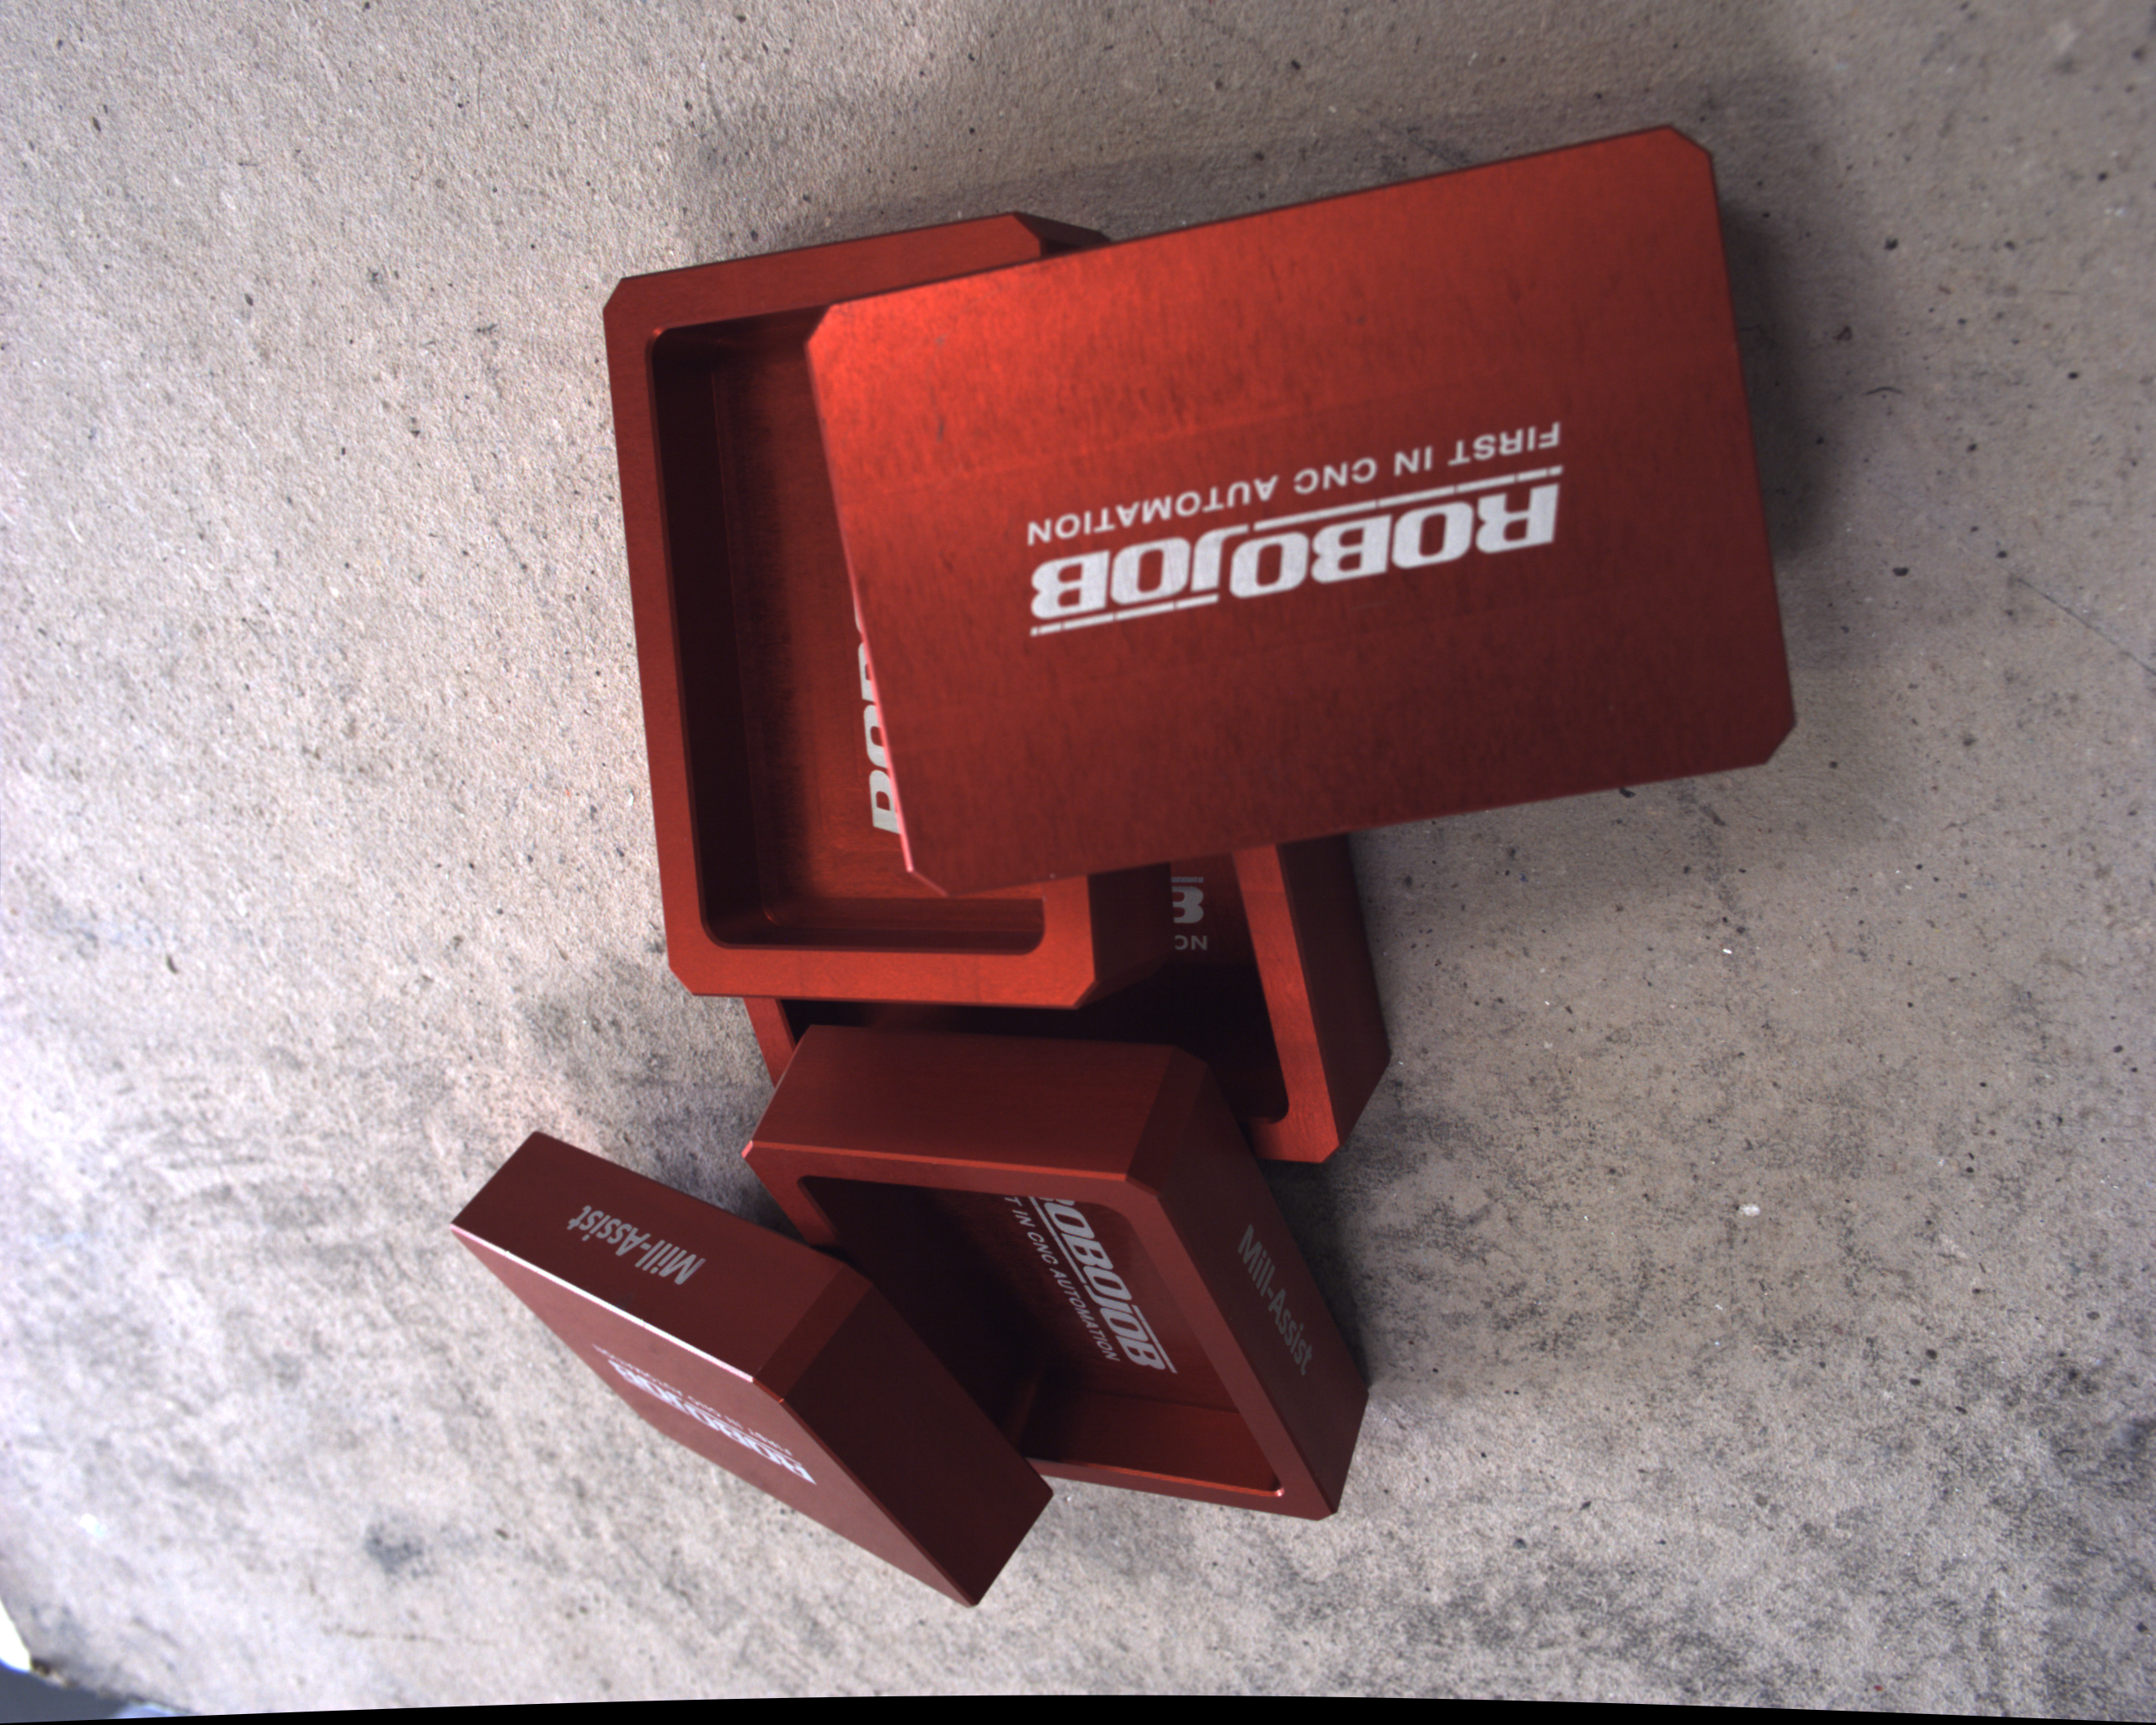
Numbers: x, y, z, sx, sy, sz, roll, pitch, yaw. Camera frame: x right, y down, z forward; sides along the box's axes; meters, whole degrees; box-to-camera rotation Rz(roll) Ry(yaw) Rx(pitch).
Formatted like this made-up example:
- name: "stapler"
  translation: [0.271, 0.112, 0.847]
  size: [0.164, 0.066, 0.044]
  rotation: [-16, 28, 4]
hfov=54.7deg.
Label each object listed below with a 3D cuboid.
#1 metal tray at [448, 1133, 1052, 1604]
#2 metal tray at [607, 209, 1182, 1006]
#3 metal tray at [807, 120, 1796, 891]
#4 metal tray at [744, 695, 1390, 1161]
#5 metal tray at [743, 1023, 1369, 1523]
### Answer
- name: "metal tray"
  translation: [-0.077, 0.113, 0.478]
  size: [0.130, 0.030, 0.090]
  rotation: [9, 141, 44]
- name: "metal tray"
  translation: [-0.033, -0.042, 0.370]
  size: [0.090, 0.030, 0.129]
  rotation: [0, 99, 28]
- name: "metal tray"
  translation: [0.033, -0.051, 0.315]
  size: [0.131, 0.030, 0.089]
  rotation: [-9, 96, 9]
- name: "metal tray"
  translation: [-0.010, 0.011, 0.418]
  size: [0.130, 0.030, 0.089]
  rotation: [0, 119, 28]
- name: "metal tray"
  translation: [-0.001, 0.087, 0.433]
  size: [0.090, 0.030, 0.130]
  rotation: [1, 138, 28]
